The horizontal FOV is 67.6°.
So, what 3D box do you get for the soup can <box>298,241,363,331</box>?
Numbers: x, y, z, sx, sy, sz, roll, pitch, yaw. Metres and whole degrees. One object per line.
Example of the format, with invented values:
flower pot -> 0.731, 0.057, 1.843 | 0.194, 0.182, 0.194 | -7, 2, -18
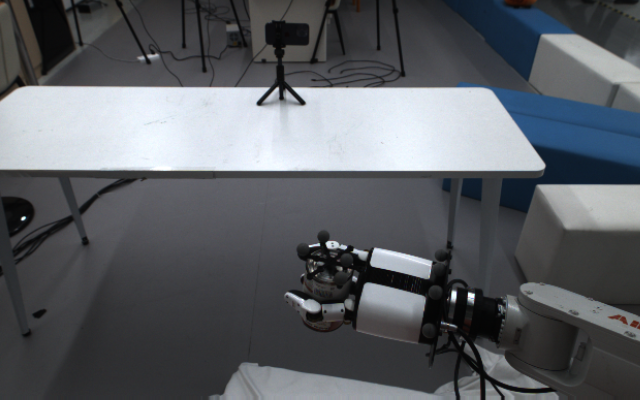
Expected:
soup can -> 0.010, 0.128, 0.679 | 0.067, 0.101, 0.067 | 5, 36, -4
